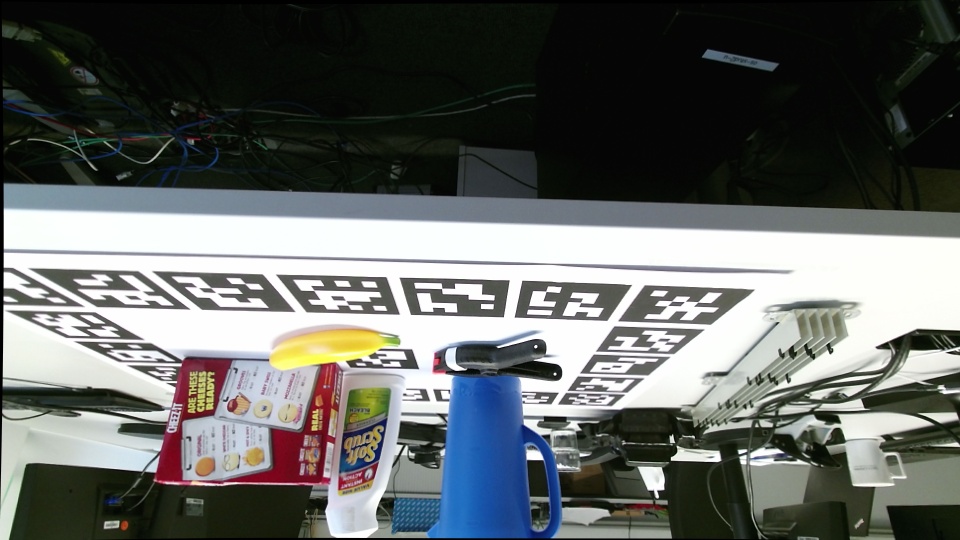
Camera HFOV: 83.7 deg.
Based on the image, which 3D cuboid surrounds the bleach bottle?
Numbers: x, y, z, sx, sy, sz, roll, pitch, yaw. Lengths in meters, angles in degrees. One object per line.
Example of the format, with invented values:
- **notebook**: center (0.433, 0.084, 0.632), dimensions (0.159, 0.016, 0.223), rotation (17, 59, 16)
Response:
- **bleach bottle**: center (-0.165, 0.279, 0.803), dimensions (0.103, 0.249, 0.068), rotation (1, 155, -1)

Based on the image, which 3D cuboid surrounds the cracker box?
- **cracker box**: center (-0.317, 0.217, 0.744), dimensions (0.214, 0.163, 0.072), rotation (1, 157, -4)

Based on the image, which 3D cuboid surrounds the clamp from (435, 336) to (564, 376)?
- **clamp**: center (0.020, 0.116, 0.697), dimensions (0.165, 0.036, 0.122), rotation (-4, 155, 15)

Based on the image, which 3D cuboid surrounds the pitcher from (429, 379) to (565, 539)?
- **pitcher**: center (0.024, 0.285, 0.763), dimensions (0.189, 0.241, 0.133), rotation (-4, 155, 17)

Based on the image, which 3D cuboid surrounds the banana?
- **banana**: center (-0.200, 0.091, 0.673), dimensions (0.198, 0.038, 0.074), rotation (-14, 151, 29)
